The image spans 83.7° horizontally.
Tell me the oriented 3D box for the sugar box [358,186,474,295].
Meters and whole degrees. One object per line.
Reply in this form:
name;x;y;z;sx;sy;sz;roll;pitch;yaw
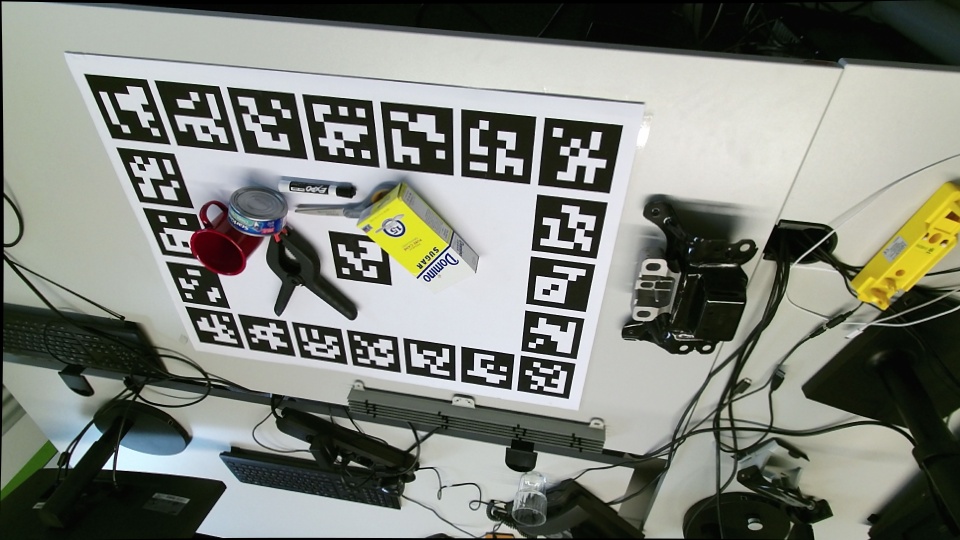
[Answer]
sugar box;-0.099;-0.039;0.848;0.093;0.045;0.177;-25;122;27

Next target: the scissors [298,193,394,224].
scissors;-0.201;-0.080;0.861;0.203;0.016;0.088;-1;128;14

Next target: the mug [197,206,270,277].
mug;-0.412;-0.055;0.892;0.093;0.081;0.117;-16;123;22

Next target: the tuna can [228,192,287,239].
tuna can;-0.352;-0.087;0.850;0.086;0.085;0.034;21;126;-3

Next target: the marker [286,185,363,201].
marker;-0.244;-0.121;0.844;0.121;0.019;0.019;4;124;9

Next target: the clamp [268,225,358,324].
clamp;-0.320;0.014;0.958;0.166;0.036;0.203;-1;124;13
